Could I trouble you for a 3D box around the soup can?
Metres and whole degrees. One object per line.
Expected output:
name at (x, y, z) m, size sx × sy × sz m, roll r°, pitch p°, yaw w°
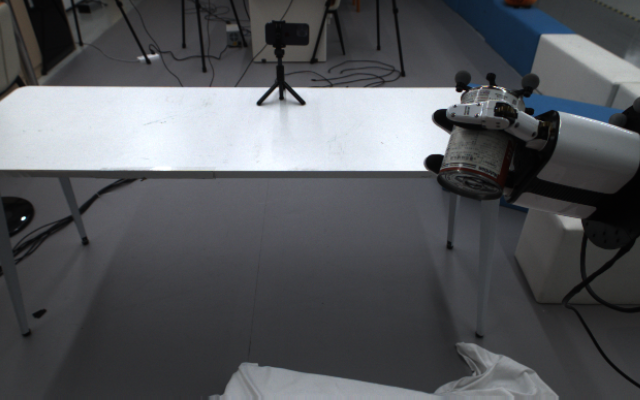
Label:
soup can at (0.171, -0.062, 0.513) m, size 0.067 × 0.067 × 0.101 m, roll 16°, pitch 75°, yaw 19°
